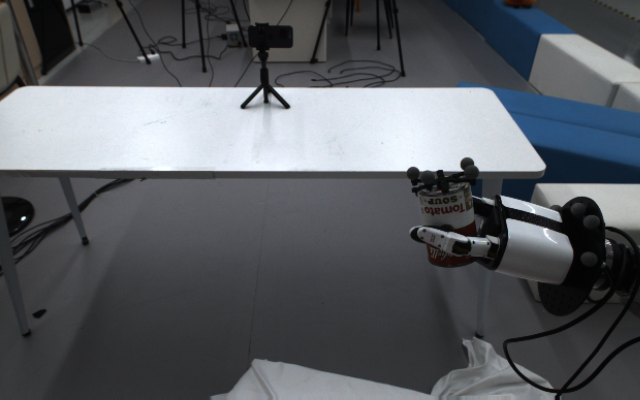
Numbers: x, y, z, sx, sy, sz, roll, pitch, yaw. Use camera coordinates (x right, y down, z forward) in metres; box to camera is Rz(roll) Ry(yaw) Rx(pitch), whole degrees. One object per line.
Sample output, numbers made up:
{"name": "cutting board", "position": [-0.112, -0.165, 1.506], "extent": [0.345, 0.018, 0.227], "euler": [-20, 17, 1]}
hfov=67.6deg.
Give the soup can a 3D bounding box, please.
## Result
{"name": "soup can", "position": [0.169, 0.026, 0.630], "extent": [0.067, 0.101, 0.067], "euler": [-12, 17, 4]}
